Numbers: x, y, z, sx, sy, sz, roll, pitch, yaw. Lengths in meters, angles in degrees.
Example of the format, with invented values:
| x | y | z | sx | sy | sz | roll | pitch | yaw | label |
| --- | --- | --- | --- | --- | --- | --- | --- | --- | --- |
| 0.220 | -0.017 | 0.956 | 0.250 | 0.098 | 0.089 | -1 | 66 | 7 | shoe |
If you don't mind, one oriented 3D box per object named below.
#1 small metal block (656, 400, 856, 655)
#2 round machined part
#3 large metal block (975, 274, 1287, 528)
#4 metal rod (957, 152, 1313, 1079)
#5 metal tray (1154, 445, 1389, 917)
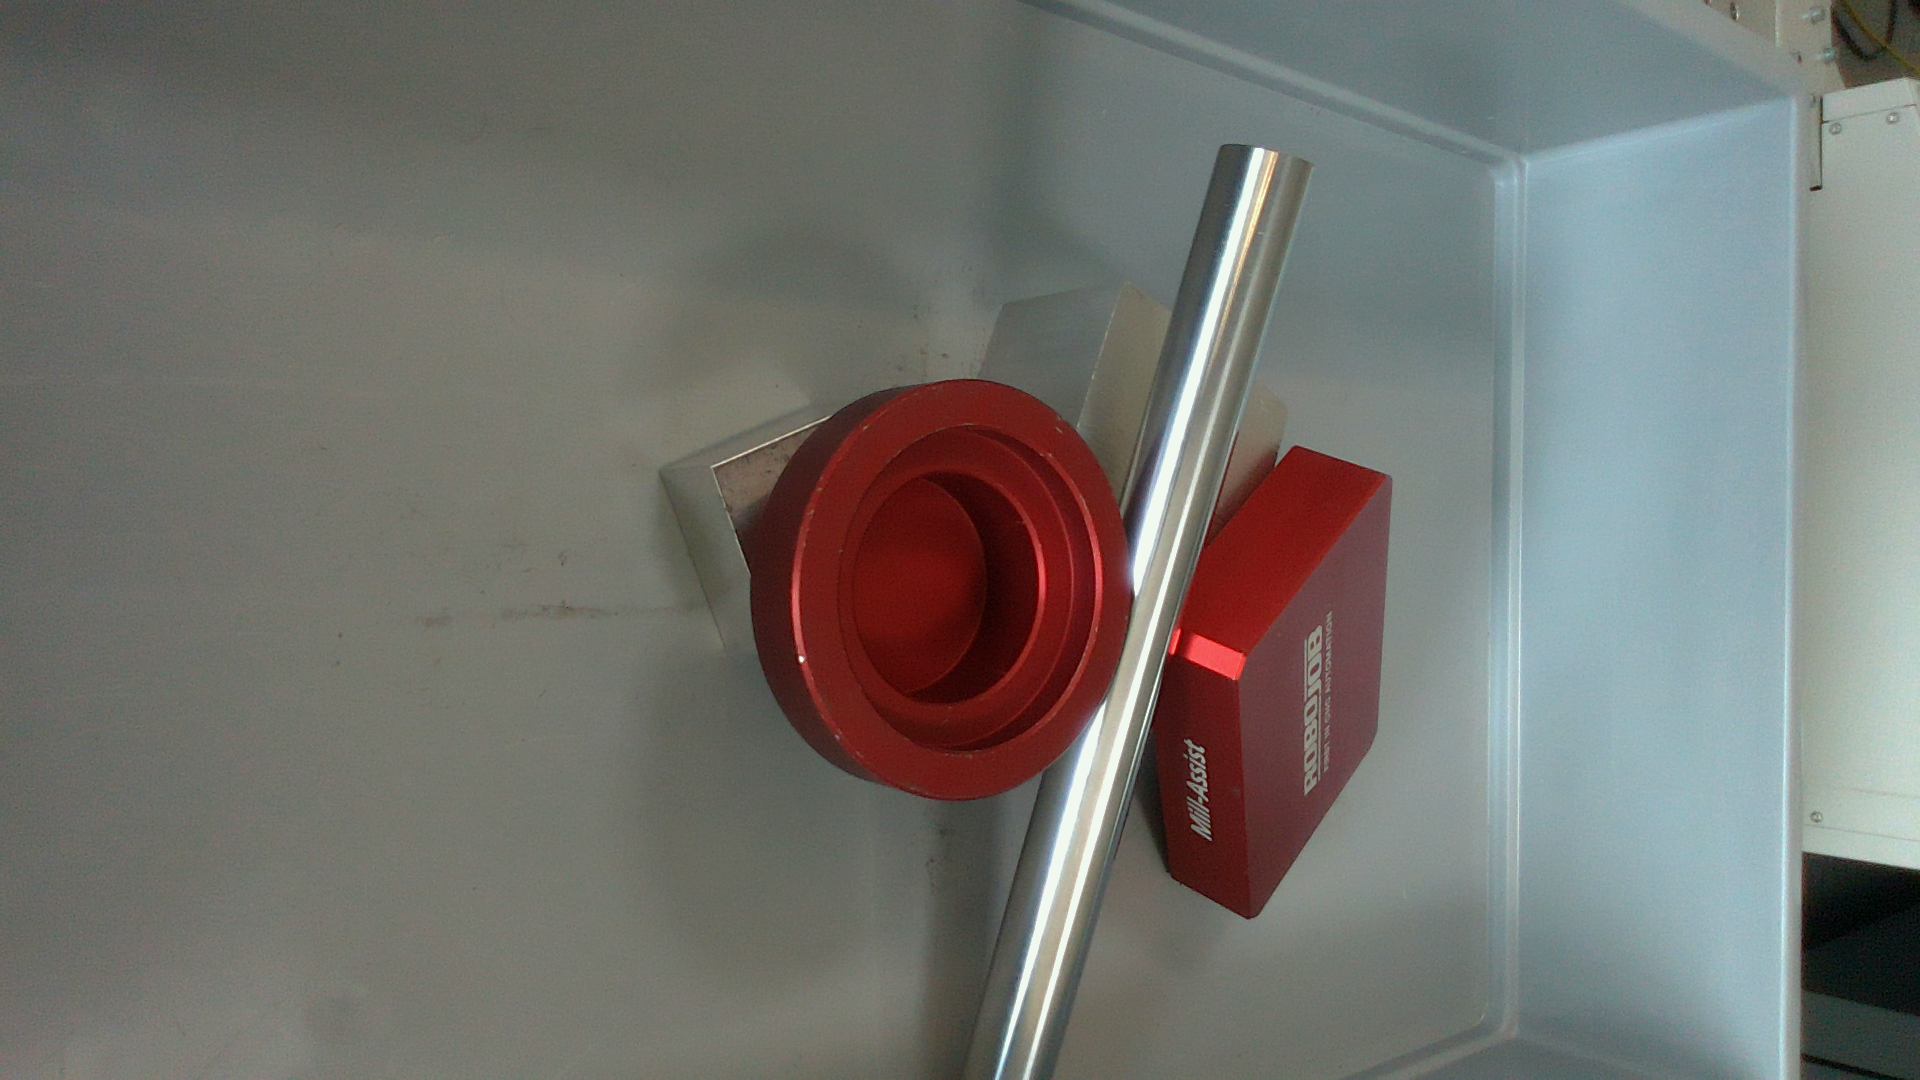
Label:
| x | y | z | sx | sy | sz | roll | pitch | yaw | label |
| --- | --- | --- | --- | --- | --- | --- | --- | --- | --- |
| -0.042 | -0.004 | 0.353 | 0.050 | 0.025 | 0.050 | -28 | 108 | -36 | small metal block |
| -0.008 | 0.011 | 0.334 | 0.098 | 0.042 | 0.098 | -1 | 91 | -37 | round machined part |
| 0.044 | -0.020 | 0.409 | 0.080 | 0.050 | 0.080 | 29 | 72 | -36 | large metal block |
| 0.039 | 0.049 | 0.368 | 0.025 | 0.025 | 0.300 | 8 | 101 | -40 | metal rod |
| 0.099 | 0.047 | 0.434 | 0.090 | 0.030 | 0.130 | -46 | 142 | -30 | metal tray |
